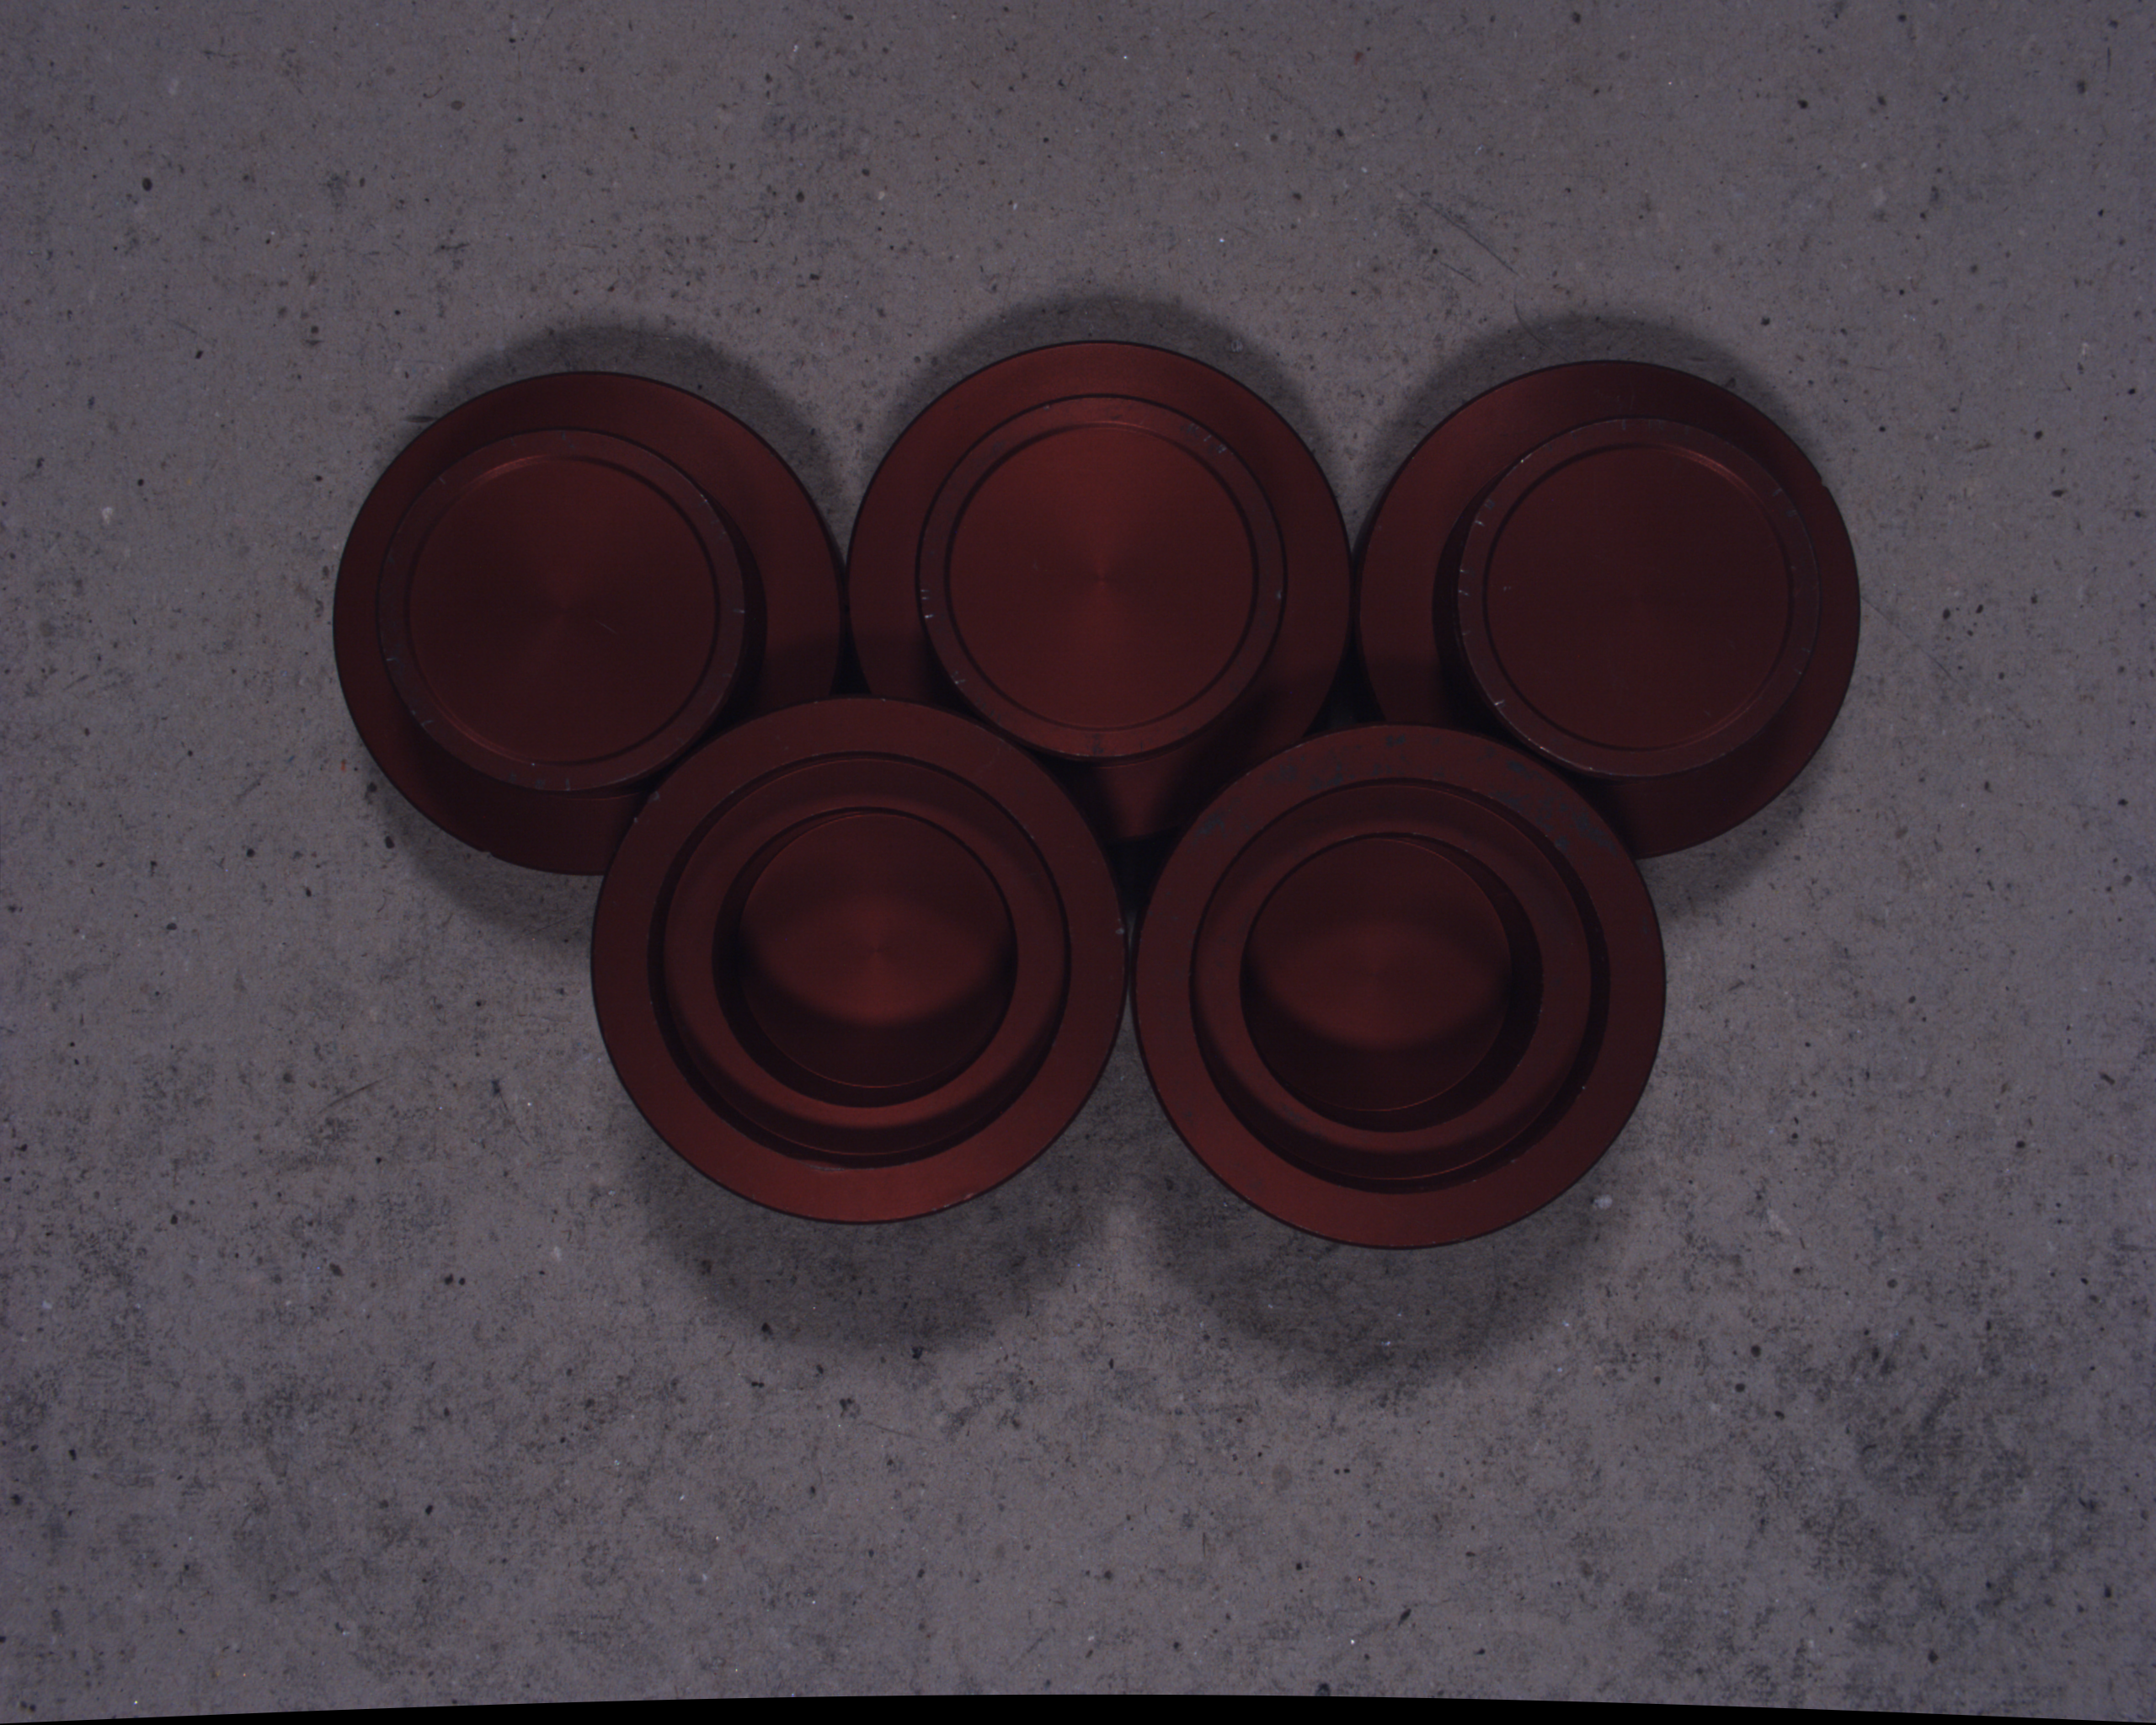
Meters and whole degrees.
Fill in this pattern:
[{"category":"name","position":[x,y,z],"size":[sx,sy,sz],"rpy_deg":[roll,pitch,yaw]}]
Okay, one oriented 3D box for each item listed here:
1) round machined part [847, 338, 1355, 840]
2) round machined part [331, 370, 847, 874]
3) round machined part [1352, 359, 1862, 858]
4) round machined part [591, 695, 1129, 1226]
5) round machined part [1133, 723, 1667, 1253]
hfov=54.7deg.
[{"category":"round machined part","position":[0.004,-0.053,0.403],"size":[0.099,0.042,0.097],"rpy_deg":[0,90,-1]},{"category":"round machined part","position":[-0.095,-0.046,0.401],"size":[0.099,0.042,0.097],"rpy_deg":[0,90,-1]},{"category":"round machined part","position":[0.103,-0.049,0.404],"size":[0.099,0.042,0.097],"rpy_deg":[0,90,-1]},{"category":"round machined part","position":[-0.040,0.018,0.402],"size":[0.099,0.042,0.097],"rpy_deg":[0,90,-1]},{"category":"round machined part","position":[0.059,0.023,0.403],"size":[0.099,0.042,0.097],"rpy_deg":[0,90,-1]}]
